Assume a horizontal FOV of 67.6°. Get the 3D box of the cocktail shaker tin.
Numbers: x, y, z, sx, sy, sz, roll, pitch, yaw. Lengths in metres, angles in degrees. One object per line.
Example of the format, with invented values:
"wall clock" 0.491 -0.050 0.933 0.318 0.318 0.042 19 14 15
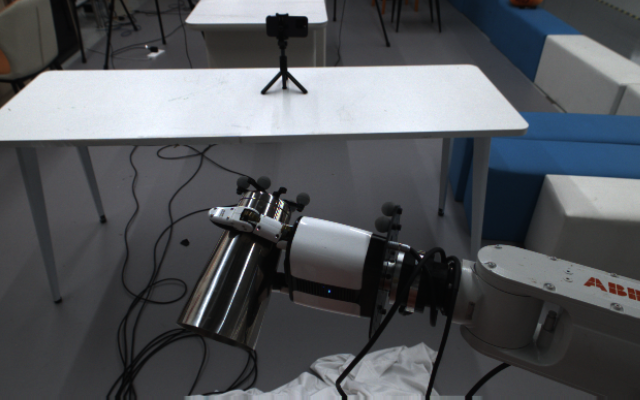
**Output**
"cocktail shaker tin" -0.088 0.075 0.567 0.093 0.093 0.170 12 65 15
